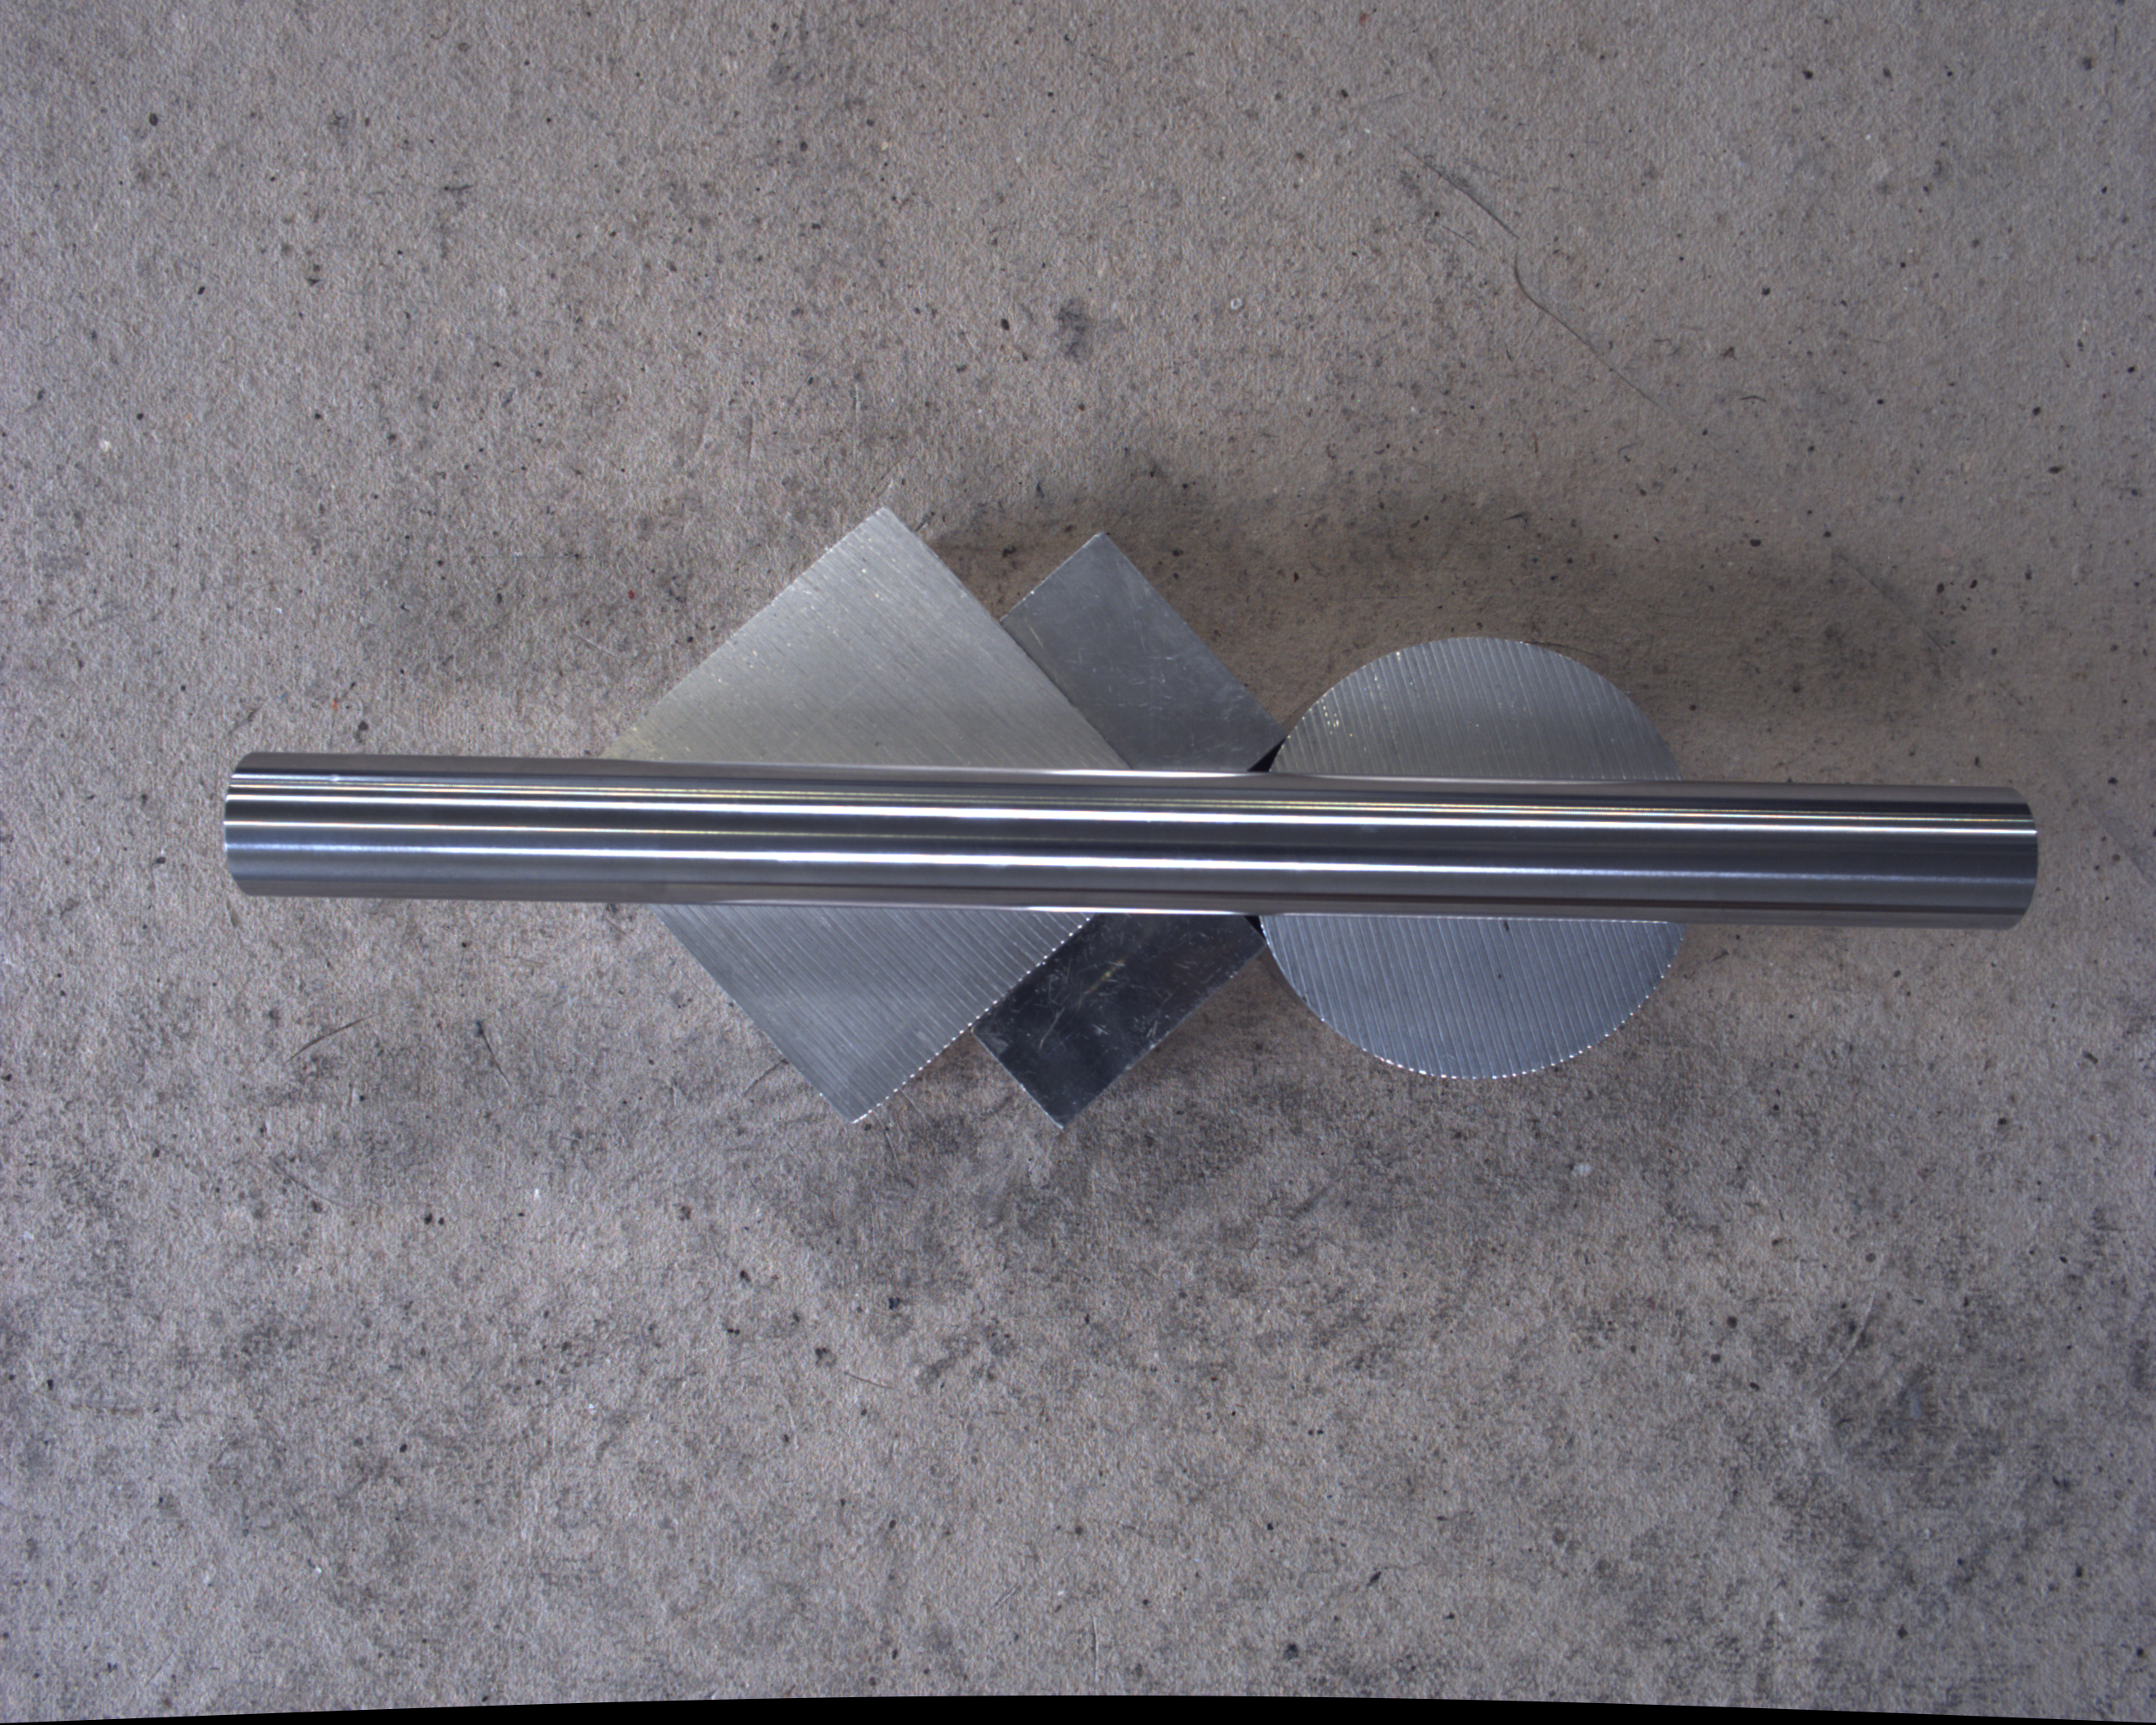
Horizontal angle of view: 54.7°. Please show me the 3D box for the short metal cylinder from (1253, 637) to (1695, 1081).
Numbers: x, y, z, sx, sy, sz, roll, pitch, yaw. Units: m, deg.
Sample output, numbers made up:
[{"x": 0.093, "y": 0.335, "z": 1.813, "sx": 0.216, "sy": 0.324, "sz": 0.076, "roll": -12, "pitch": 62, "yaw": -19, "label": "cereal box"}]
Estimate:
[{"x": 0.070, "y": -0.001, "z": 0.398, "sx": 0.081, "sy": 0.050, "sz": 0.080, "roll": 0, "pitch": 90, "yaw": 0, "label": "short metal cylinder"}]

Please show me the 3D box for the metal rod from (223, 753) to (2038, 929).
[{"x": 0.009, "y": -0.004, "z": 0.359, "sx": 0.302, "sy": 0.025, "sz": 0.025, "roll": 1, "pitch": 90, "yaw": -1, "label": "metal rod"}]

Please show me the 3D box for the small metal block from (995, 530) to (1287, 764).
[{"x": 0.011, "y": -0.033, "z": 0.399, "sx": 0.025, "sy": 0.050, "sz": 0.050, "roll": -43, "pitch": 91, "yaw": 0, "label": "small metal block"}]

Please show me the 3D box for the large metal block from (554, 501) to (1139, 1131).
[{"x": -0.038, "y": -0.008, "z": 0.397, "sx": 0.080, "sy": 0.050, "sz": 0.080, "roll": -42, "pitch": 90, "yaw": 0, "label": "large metal block"}]

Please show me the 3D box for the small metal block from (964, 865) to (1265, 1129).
[{"x": 0.006, "y": 0.022, "z": 0.400, "sx": 0.050, "sy": 0.050, "sz": 0.025, "roll": -42, "pitch": 91, "yaw": 0, "label": "small metal block"}]
